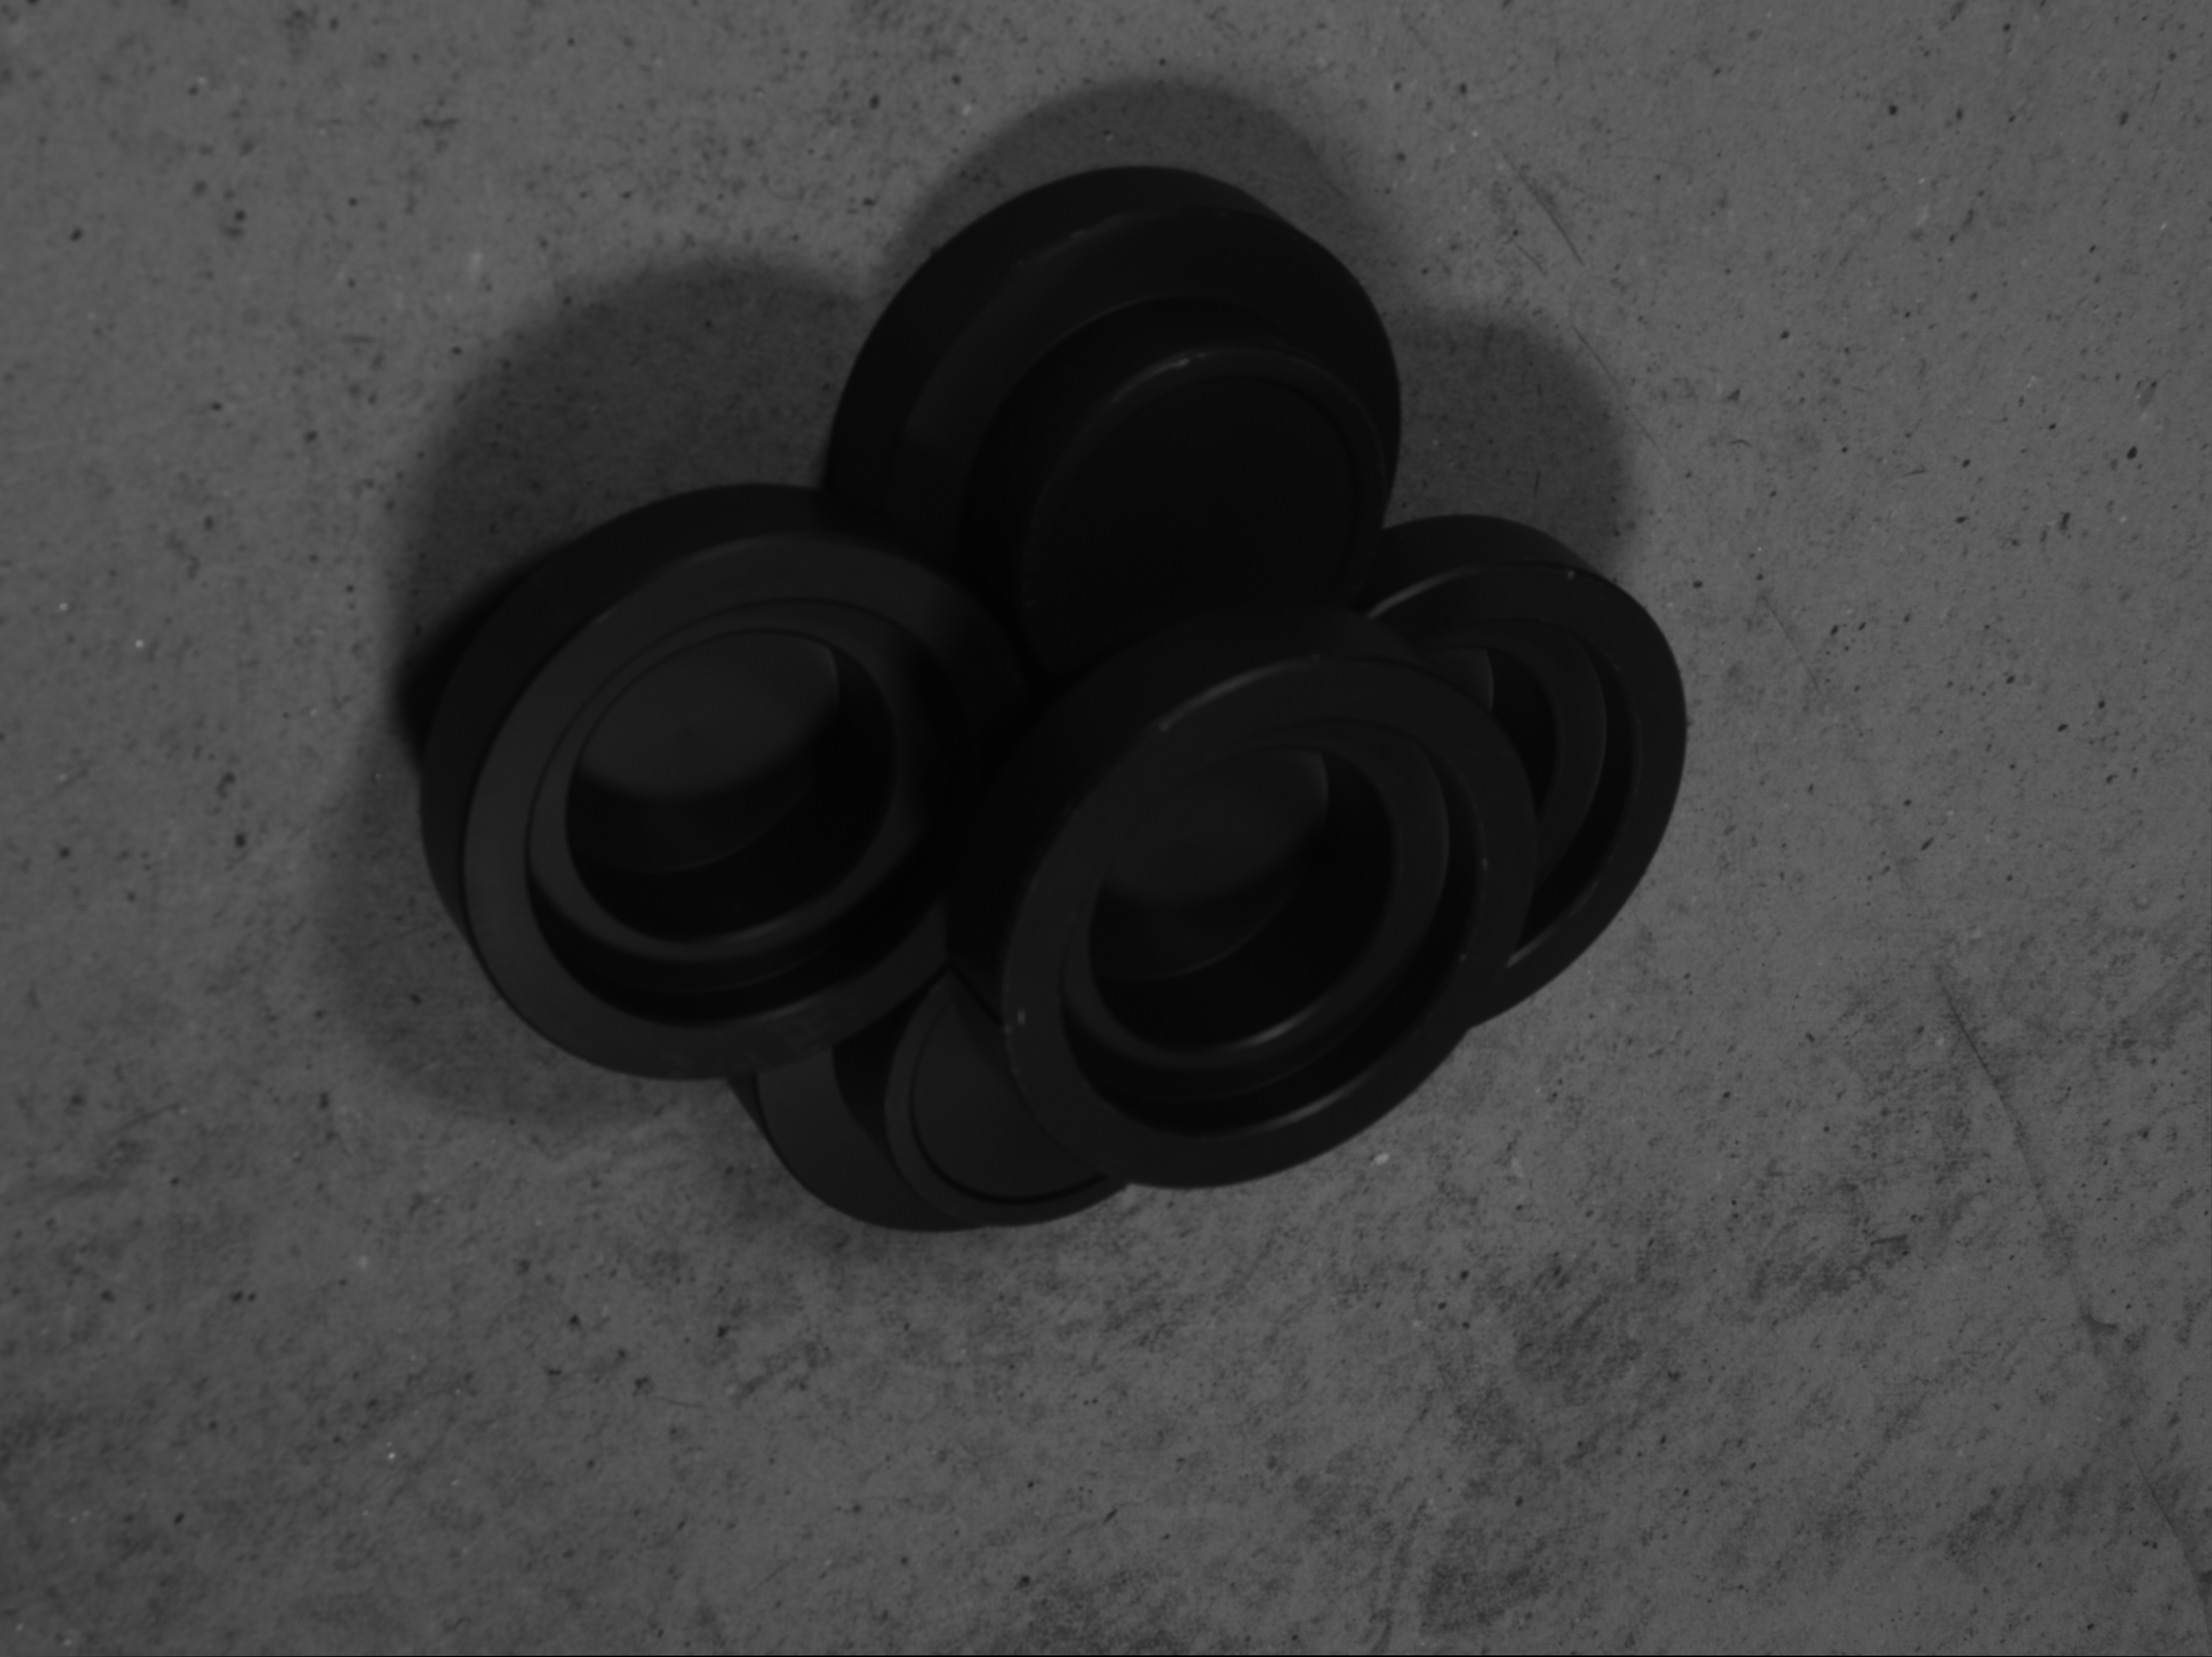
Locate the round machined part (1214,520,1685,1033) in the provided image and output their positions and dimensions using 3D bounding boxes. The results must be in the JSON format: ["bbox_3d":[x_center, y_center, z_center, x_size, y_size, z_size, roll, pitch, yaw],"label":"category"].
[{"bbox_3d":[0.052,-0.012,0.663,0.098,0.042,0.098,-15,125,-22],"label":"round machined part"}]

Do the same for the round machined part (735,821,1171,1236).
[{"bbox_3d":[-0.017,0.032,0.649,0.098,0.042,0.098,-15,125,-22],"label":"round machined part"}]

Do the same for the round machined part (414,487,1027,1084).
[{"bbox_3d":[-0.065,-0.011,0.595,0.098,0.042,0.098,-15,125,-22],"label":"round machined part"}]

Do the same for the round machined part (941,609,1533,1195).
[{"bbox_3d":[0.017,0.008,0.599,0.098,0.042,0.098,-15,125,-22],"label":"round machined part"}]

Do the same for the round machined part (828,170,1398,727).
[{"bbox_3d":[0.007,-0.056,0.609,0.098,0.042,0.098,-15,125,-22],"label":"round machined part"}]
